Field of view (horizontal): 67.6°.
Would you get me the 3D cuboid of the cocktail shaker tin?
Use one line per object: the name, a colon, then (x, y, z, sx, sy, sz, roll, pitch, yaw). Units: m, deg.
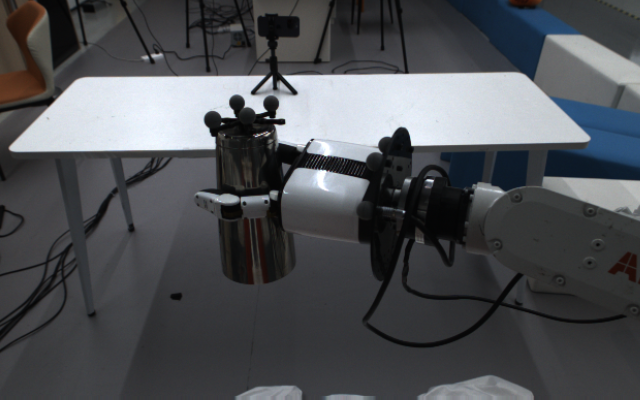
cocktail shaker tin: (-0.075, 0.000, 0.555, 0.093, 0.170, 0.093, -2, 26, 1)
